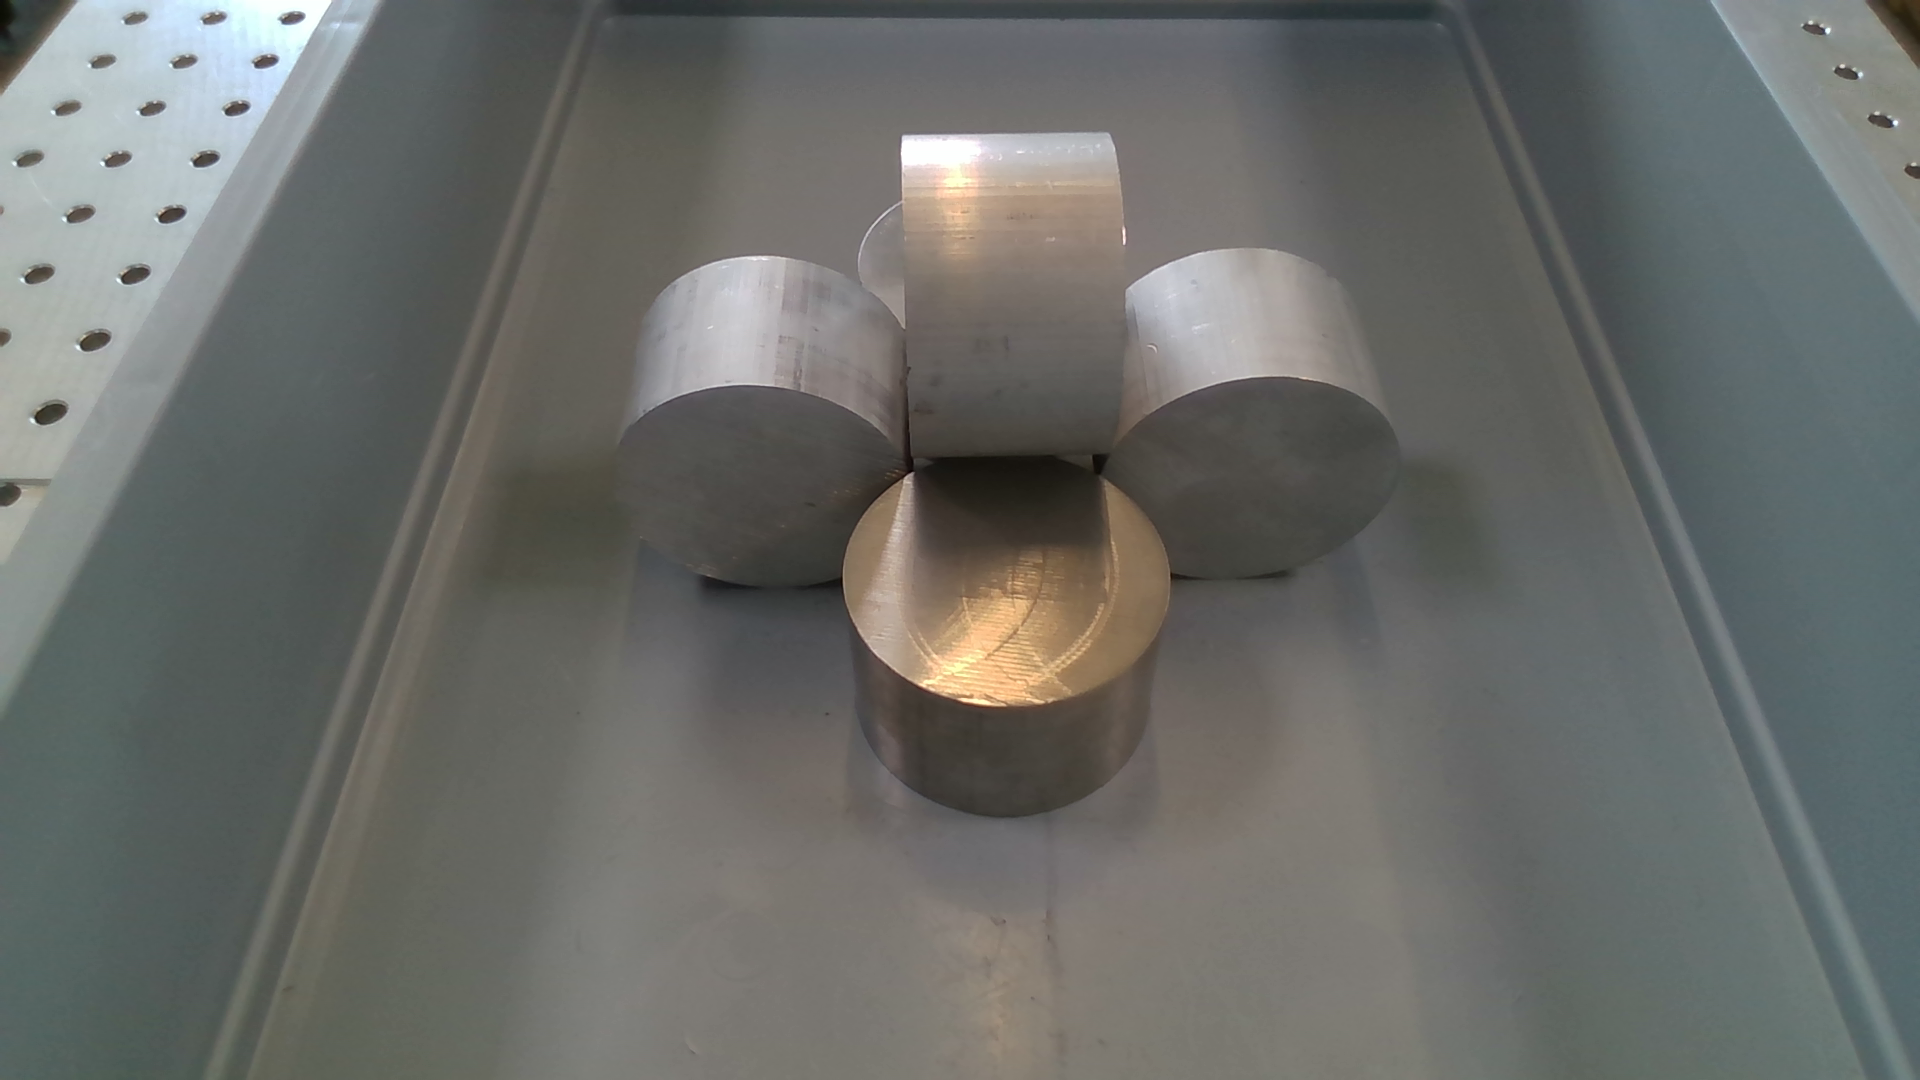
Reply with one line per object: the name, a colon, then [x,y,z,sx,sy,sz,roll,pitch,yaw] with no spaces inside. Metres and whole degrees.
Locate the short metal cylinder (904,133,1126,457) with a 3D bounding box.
short metal cylinder: [0.012,-0.062,0.350,0.050,0.080,0.080,-1,50,-1]

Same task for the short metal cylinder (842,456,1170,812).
short metal cylinder: [0.011,0.022,0.356,0.080,0.050,0.080,0,50,0]

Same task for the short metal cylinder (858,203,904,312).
short metal cylinder: [0.009,-0.069,0.434,0.080,0.050,0.080,0,50,0]

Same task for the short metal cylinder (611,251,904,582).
short metal cylinder: [-0.053,-0.033,0.383,0.080,0.080,0.050,-2,51,-1]

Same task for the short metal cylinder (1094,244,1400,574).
short metal cylinder: [0.076,-0.035,0.385,0.080,0.080,0.050,-2,51,-1]
